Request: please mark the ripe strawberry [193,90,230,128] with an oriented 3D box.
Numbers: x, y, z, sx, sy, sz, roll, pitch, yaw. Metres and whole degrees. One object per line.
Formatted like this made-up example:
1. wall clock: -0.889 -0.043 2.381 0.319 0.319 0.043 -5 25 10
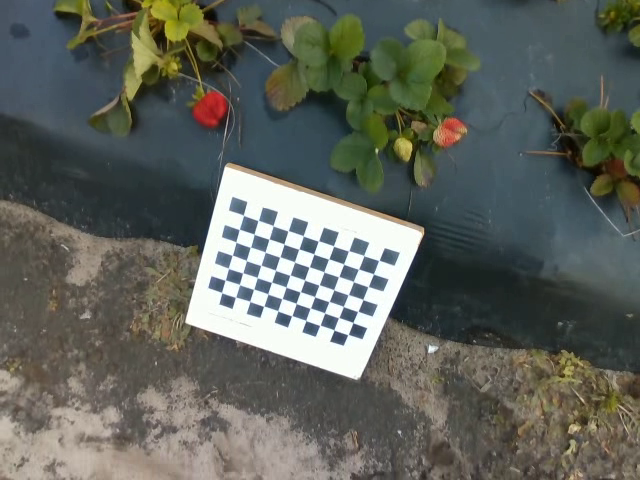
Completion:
1. ripe strawberry: -0.042 -0.048 0.268 0.013 0.015 0.017 10 -49 -49
